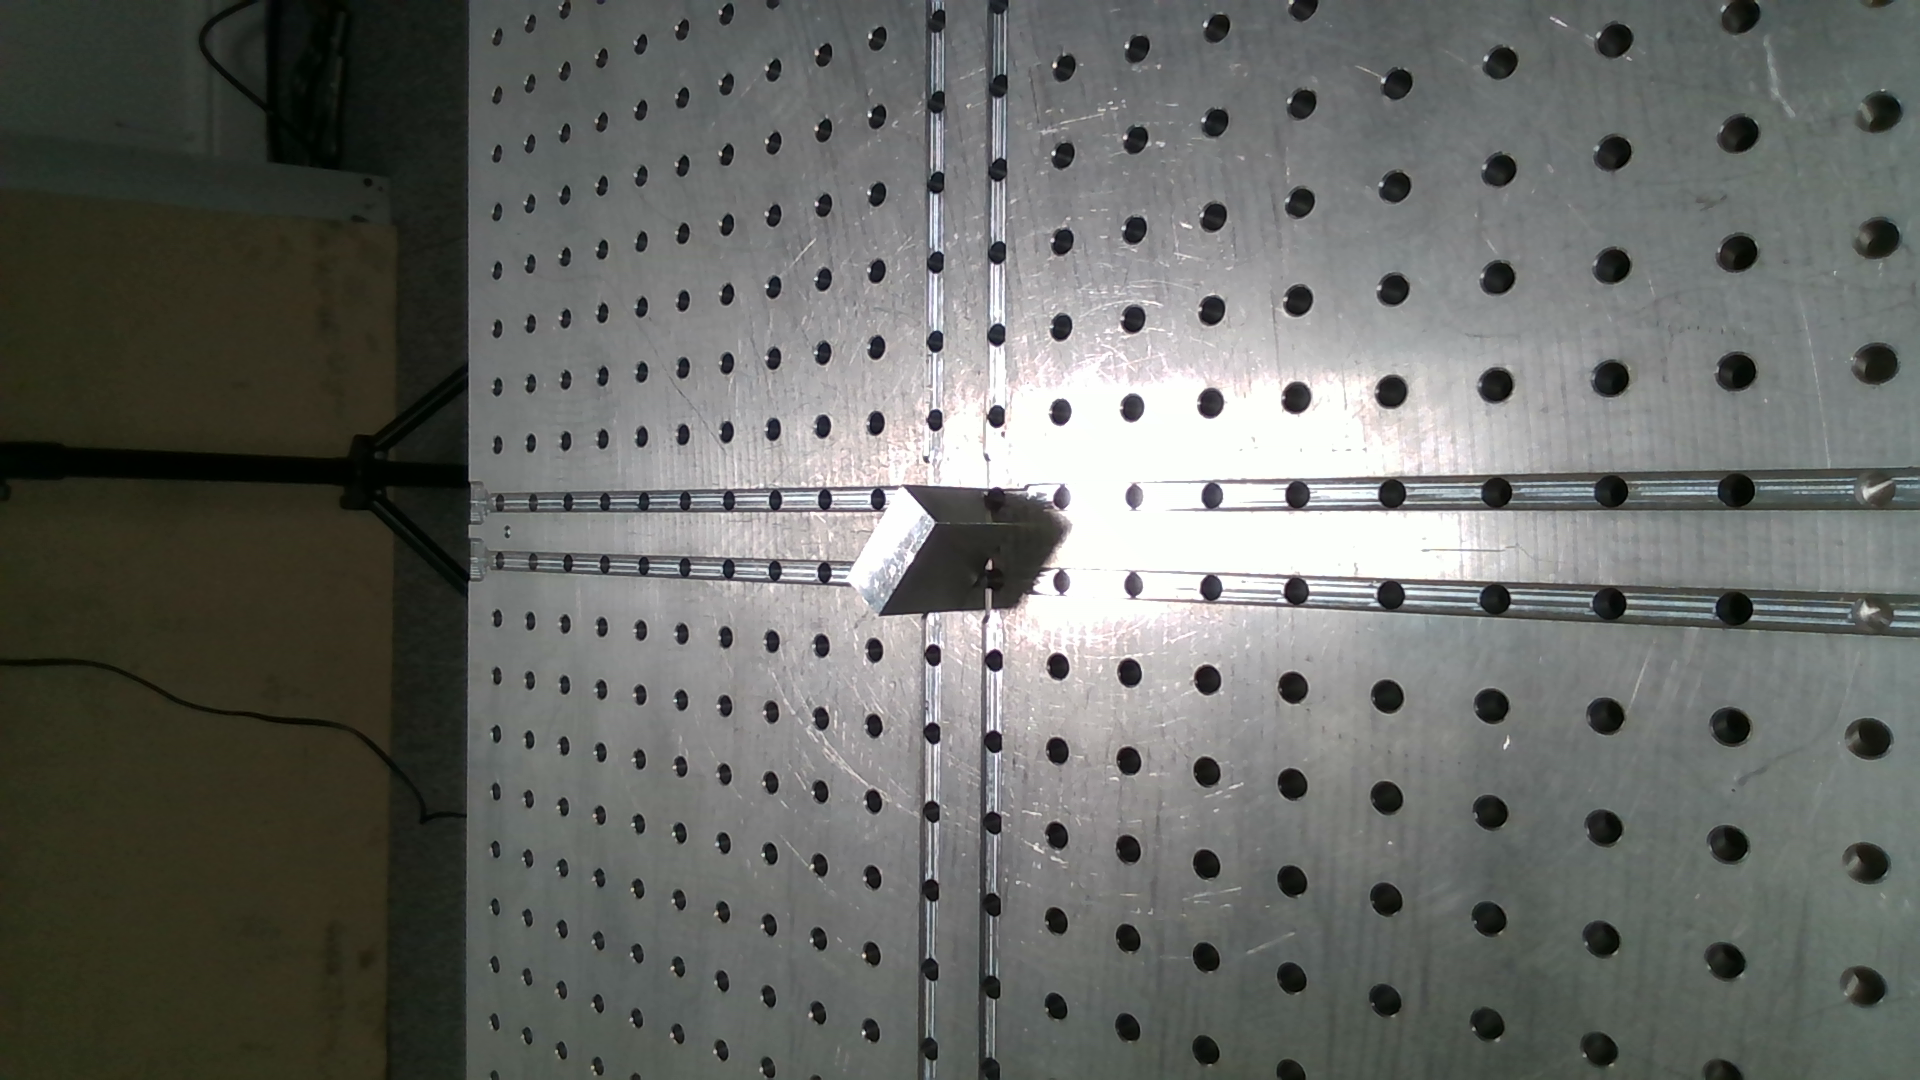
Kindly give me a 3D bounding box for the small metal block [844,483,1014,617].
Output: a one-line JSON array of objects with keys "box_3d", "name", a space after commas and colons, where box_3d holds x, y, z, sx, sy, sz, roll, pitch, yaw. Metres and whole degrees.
[{"box_3d": [-0.013, 0.004, 0.579, 0.025, 0.050, 0.050, 48, 119, 30], "name": "small metal block"}]
